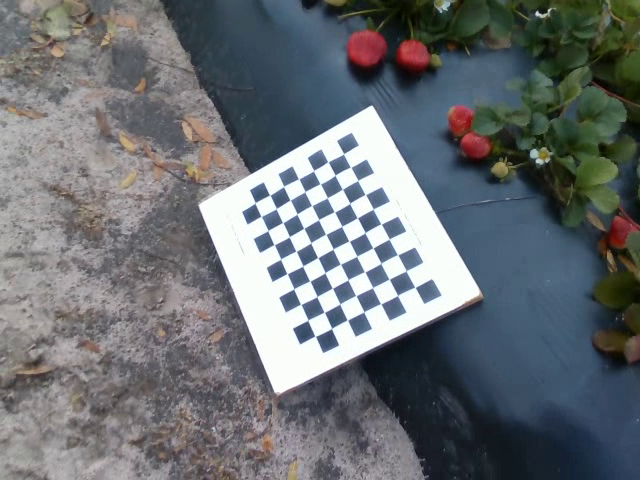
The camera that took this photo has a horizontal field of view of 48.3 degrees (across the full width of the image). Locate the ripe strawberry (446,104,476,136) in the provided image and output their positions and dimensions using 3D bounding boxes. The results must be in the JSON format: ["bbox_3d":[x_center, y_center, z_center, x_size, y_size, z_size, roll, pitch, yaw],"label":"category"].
[{"bbox_3d":[0.187,-0.162,0.937,0.053,0.047,0.038,38,4,-5],"label":"ripe strawberry"}]

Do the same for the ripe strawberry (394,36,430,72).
[{"bbox_3d":[0.131,-0.258,0.991,0.050,0.051,0.059,-10,20,23],"label":"ripe strawberry"}]

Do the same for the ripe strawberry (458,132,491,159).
[{"bbox_3d":[0.198,-0.129,0.909,0.049,0.043,0.041,1,-41,-47],"label":"ripe strawberry"}]

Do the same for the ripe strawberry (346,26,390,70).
[{"bbox_3d":[0.065,-0.265,0.989,0.059,0.065,0.043,-4,-36,25],"label":"ripe strawberry"}]
